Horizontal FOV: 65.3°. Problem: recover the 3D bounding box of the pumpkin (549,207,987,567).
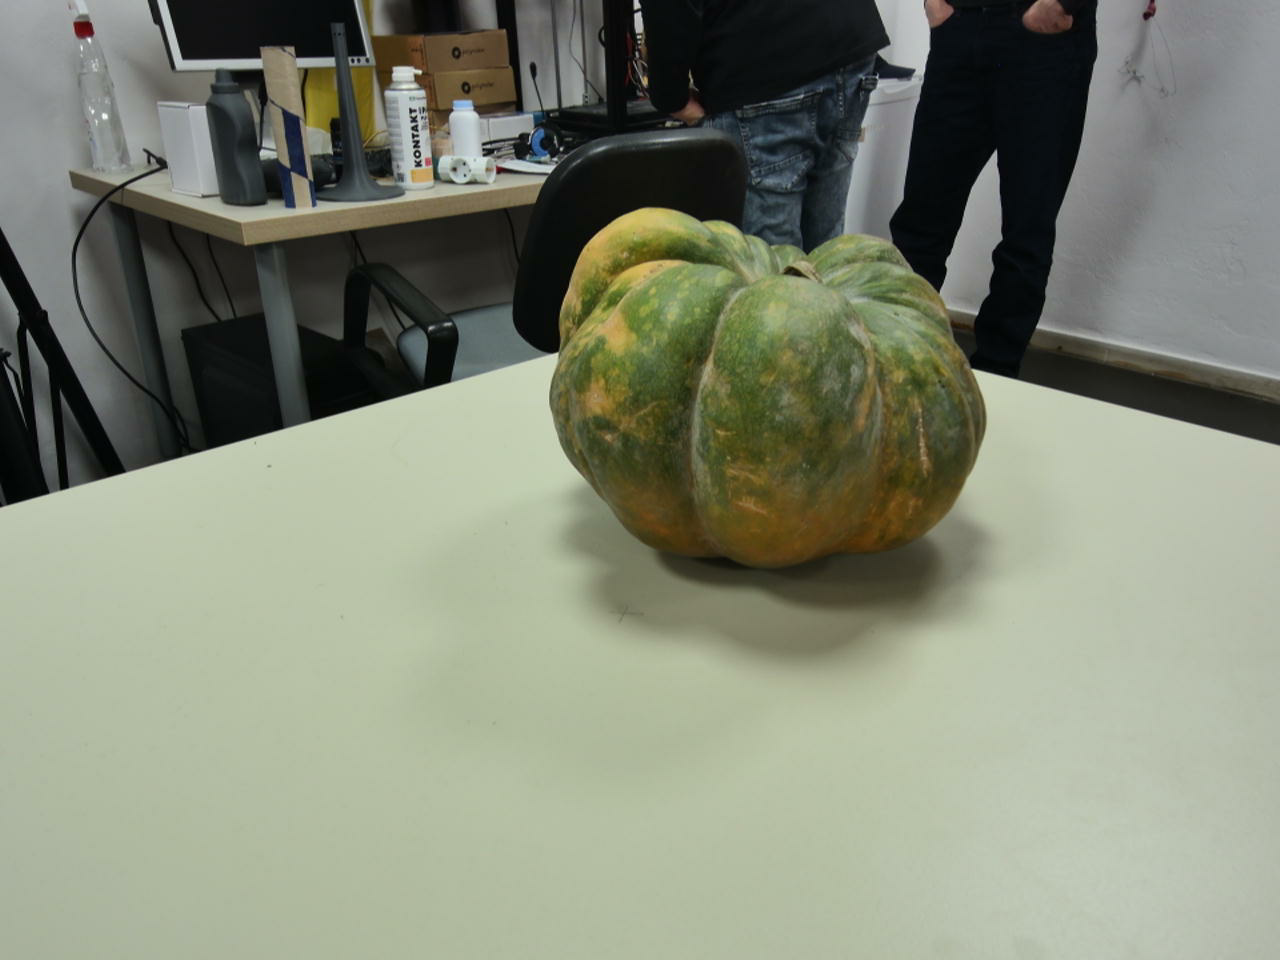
[{"bbox_3d":[0.069,-0.056,0.560,0.237,0.173,0.270,-2,24,-4],"label":"pumpkin"}]
